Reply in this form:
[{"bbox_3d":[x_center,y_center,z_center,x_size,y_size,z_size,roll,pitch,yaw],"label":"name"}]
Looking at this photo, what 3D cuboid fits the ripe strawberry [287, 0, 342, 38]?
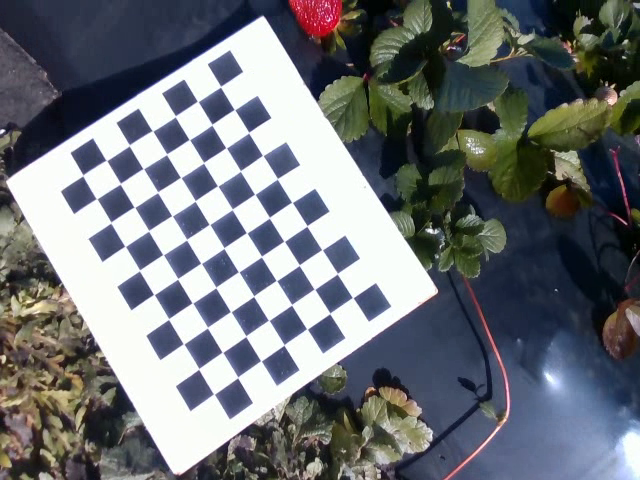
[{"bbox_3d":[-0.008,-0.204,0.632,0.058,0.066,0.061,7,-6,27],"label":"ripe strawberry"}]
